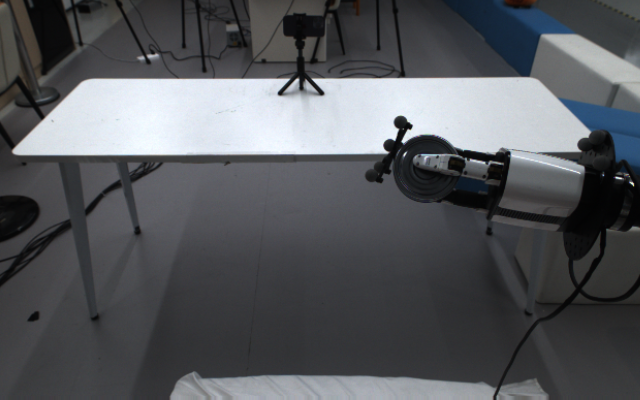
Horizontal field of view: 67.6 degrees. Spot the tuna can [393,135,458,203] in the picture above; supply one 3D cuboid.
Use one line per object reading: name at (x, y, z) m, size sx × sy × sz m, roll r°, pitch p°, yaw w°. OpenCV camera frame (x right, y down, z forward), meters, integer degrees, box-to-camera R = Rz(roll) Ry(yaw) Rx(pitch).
tuna can at (0.140, -0.042, 0.626) m, size 0.085 × 0.085 × 0.034 m, roll 8°, pitch -5°, yaw 9°
